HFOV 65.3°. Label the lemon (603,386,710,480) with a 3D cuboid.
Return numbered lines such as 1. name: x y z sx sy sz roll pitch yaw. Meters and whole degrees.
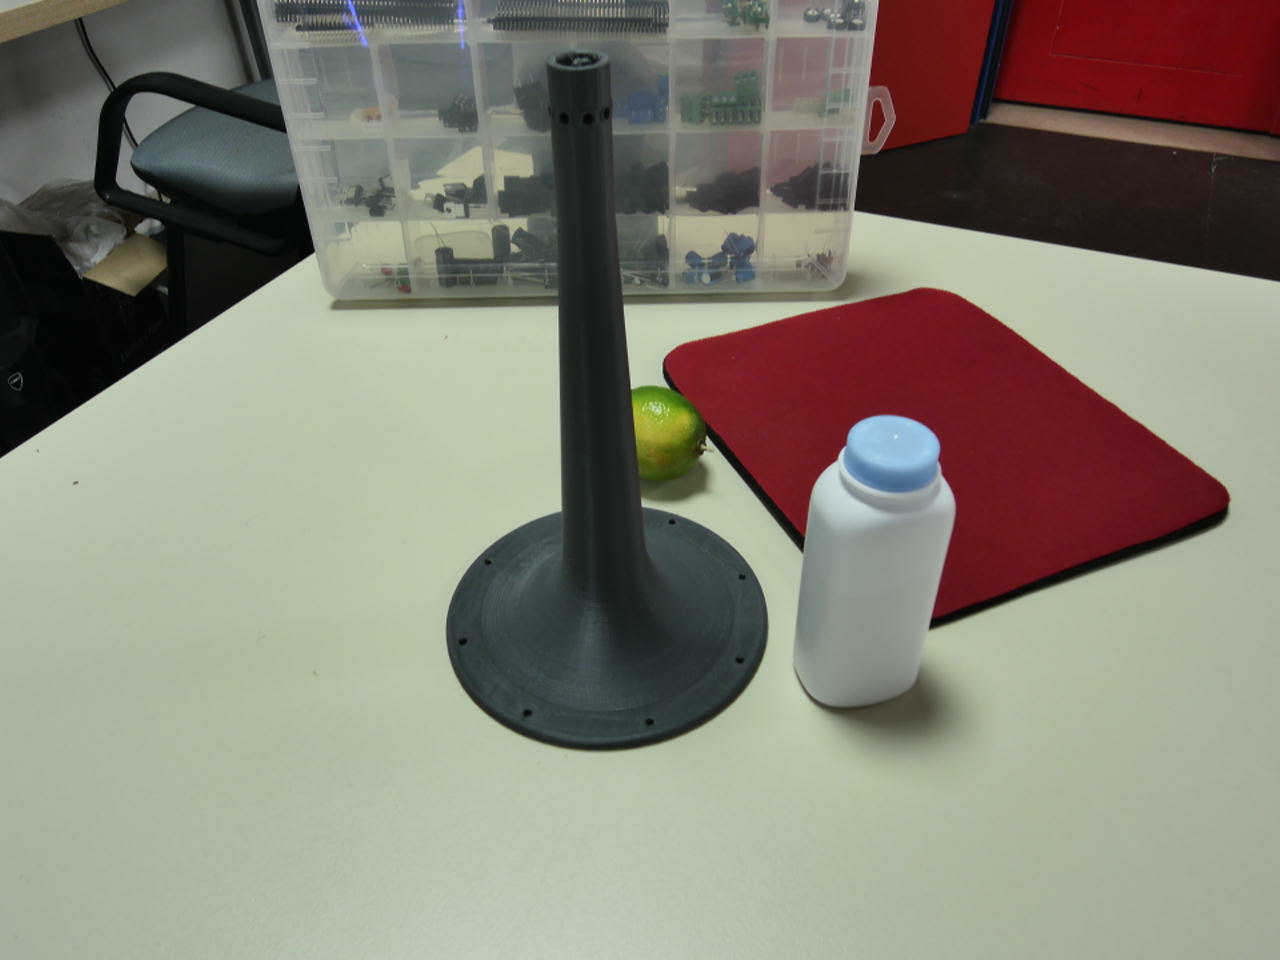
1. lemon: 0.008 -0.026 0.543 0.054 0.050 0.055 -8 39 -11
